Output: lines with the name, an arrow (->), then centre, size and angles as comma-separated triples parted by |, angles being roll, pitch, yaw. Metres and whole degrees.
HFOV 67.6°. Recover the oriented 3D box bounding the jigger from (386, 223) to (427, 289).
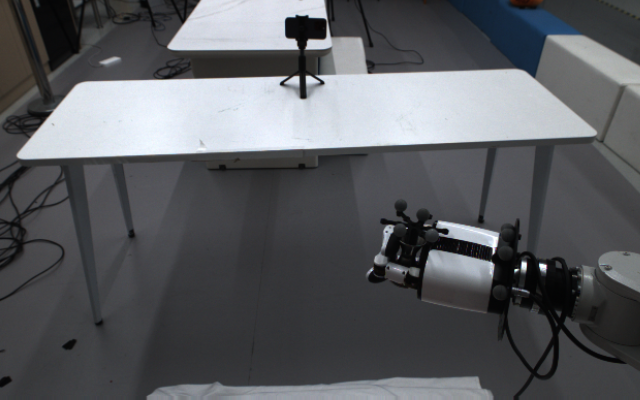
jigger -> 0.121, 0.080, 0.662 | 0.043, 0.071, 0.043 | 6, 26, -3
